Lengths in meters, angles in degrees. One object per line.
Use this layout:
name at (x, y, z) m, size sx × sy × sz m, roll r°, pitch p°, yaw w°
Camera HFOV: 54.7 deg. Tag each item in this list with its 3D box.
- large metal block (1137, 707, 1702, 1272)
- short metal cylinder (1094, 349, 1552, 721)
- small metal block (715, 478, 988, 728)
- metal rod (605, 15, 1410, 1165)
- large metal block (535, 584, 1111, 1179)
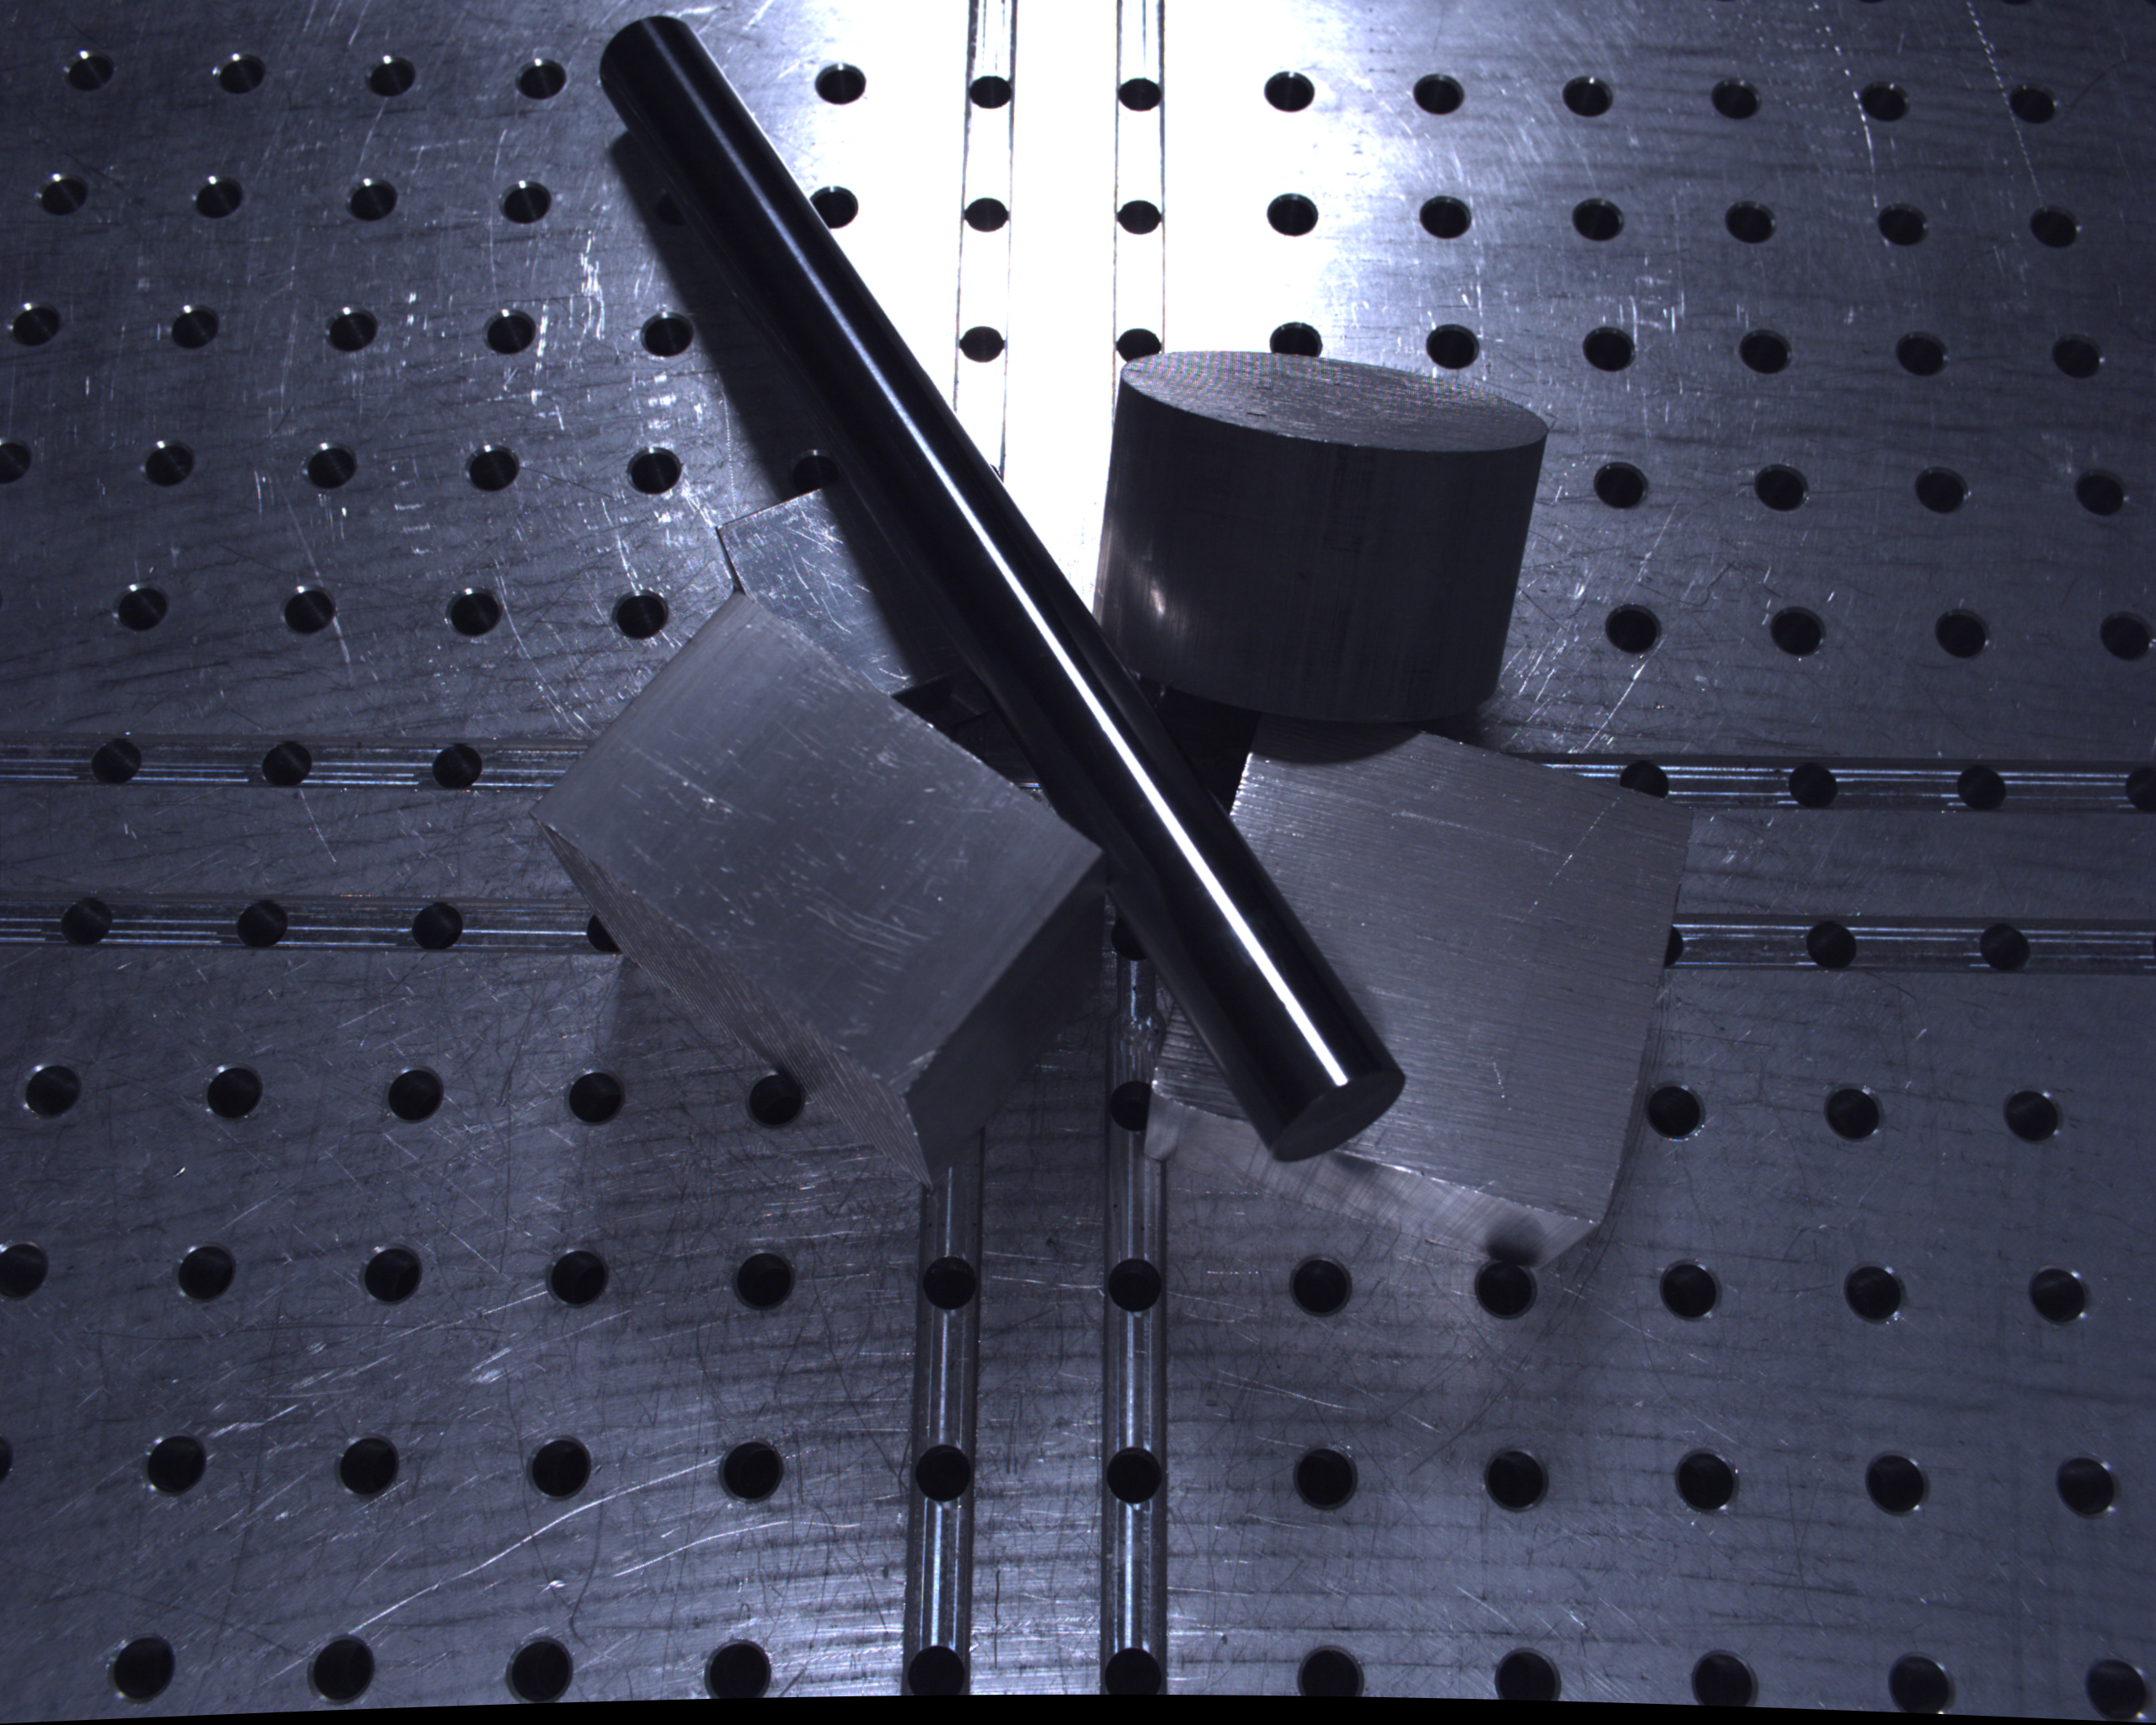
large metal block at (0.062, 0.023, 0.390) m, size 0.080 × 0.050 × 0.080 m, roll 17°, pitch 71°, yaw 5°
short metal cylinder at (0.045, -0.065, 0.400) m, size 0.080 × 0.080 × 0.050 m, roll 8°, pitch 114°, yaw 2°
small metal block at (-0.040, -0.052, 0.431) m, size 0.050 × 0.025 × 0.050 m, roll -23°, pitch 72°, yaw -9°
metal rod at (-0.027, -0.071, 0.405) m, size 0.025 × 0.025 × 0.299 m, roll -26°, pitch 61°, yaw -10°
large metal block at (-0.042, 0.007, 0.379) m, size 0.080 × 0.080 × 0.050 m, roll 35°, pitch 74°, yaw 11°
